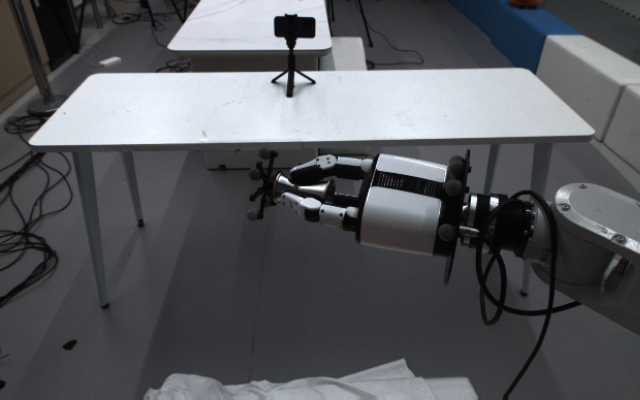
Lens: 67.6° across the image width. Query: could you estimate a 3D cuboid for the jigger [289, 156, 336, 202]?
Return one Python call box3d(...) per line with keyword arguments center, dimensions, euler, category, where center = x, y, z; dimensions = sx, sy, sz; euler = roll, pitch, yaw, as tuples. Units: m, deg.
box3d(center=(-0.013, -0.012, 0.604), dimensions=(0.071, 0.043, 0.043), euler=(10, 36, 15), category="jigger")
